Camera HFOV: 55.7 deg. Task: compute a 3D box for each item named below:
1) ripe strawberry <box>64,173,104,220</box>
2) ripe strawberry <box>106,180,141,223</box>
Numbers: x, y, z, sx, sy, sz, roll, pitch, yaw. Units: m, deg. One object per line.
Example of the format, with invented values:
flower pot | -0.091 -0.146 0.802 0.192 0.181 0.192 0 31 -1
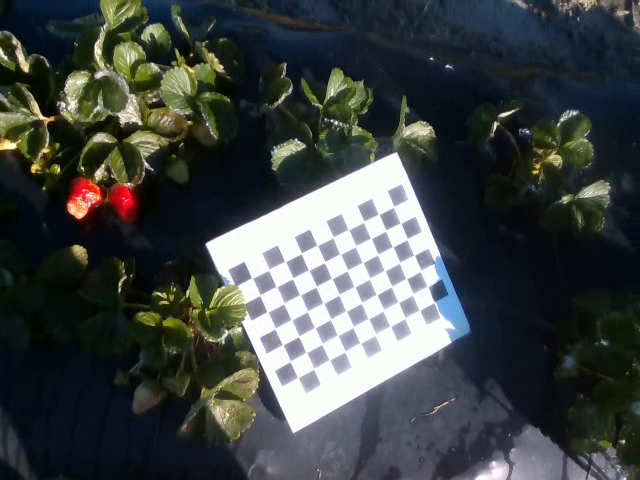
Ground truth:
ripe strawberry | -0.338 -0.058 0.866 0.052 0.070 0.040 23 -12 -20
ripe strawberry | -0.284 -0.058 0.869 0.043 0.059 0.040 -26 2 -12
